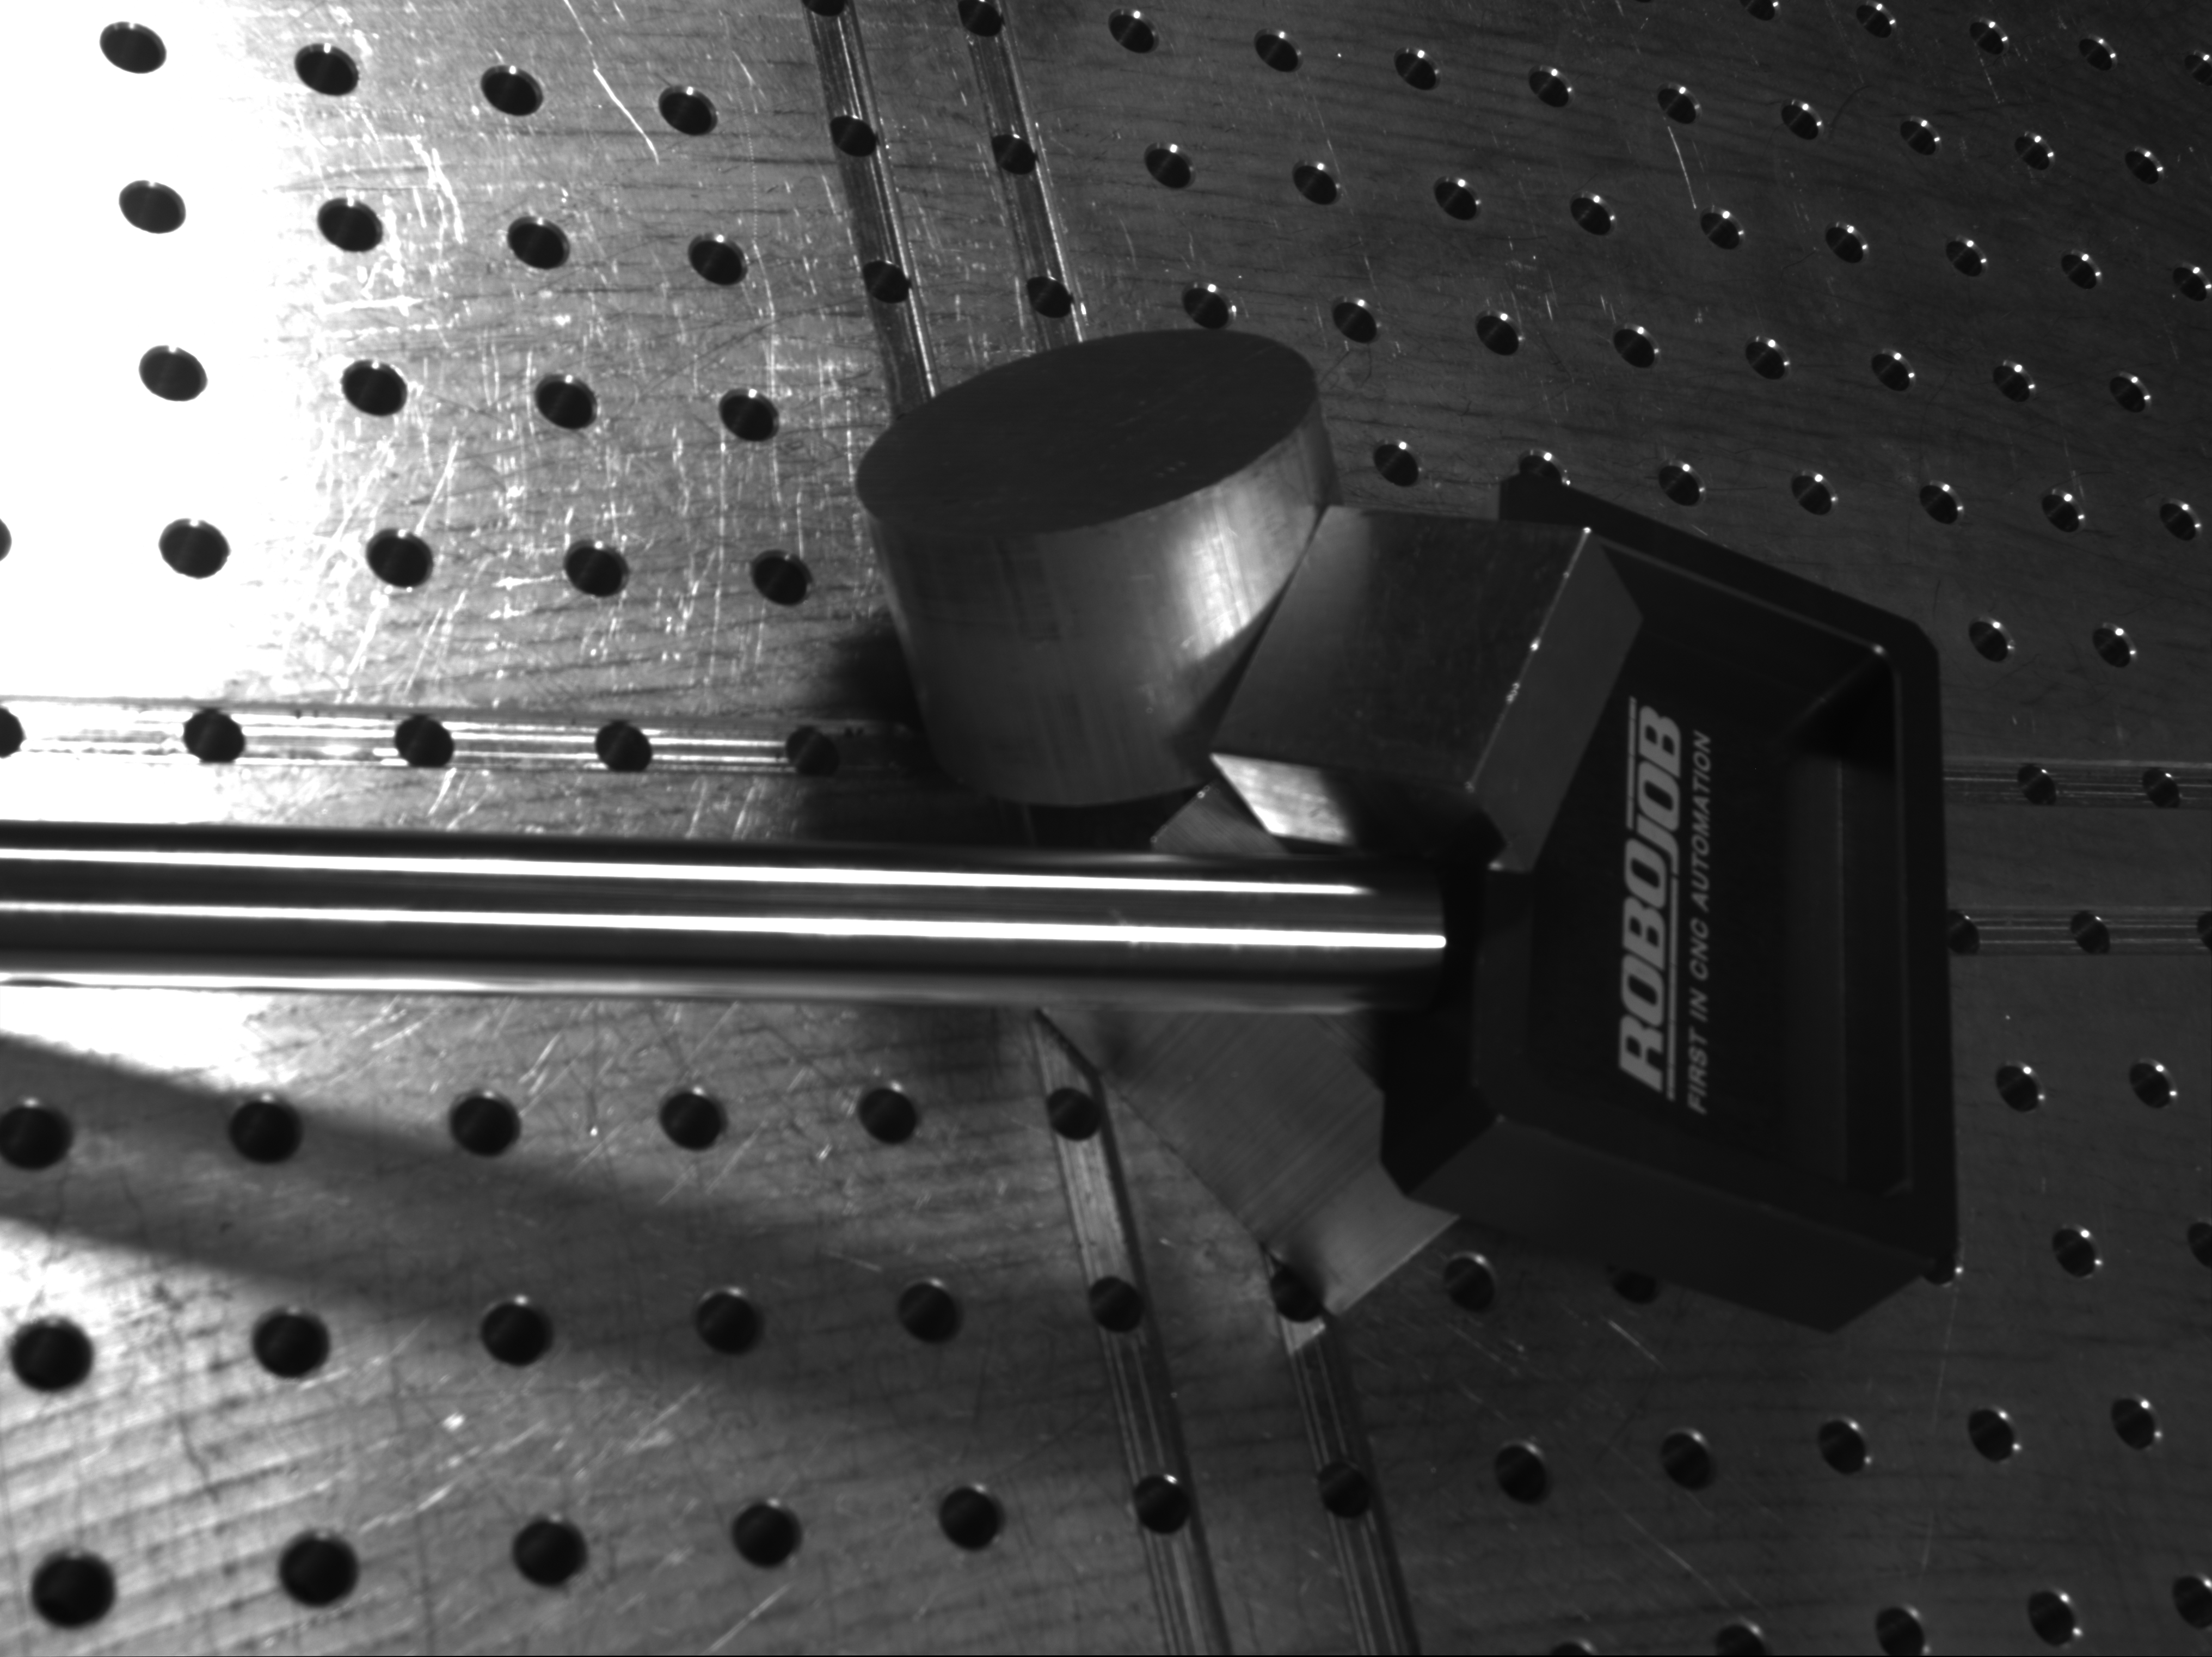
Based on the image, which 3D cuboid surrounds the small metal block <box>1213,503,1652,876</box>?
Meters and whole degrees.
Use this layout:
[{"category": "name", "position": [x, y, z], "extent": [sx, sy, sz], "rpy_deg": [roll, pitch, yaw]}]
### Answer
[{"category": "small metal block", "position": [0.053, -0.023, 0.592], "extent": [0.025, 0.050, 0.050], "rpy_deg": [50, 59, -45]}]

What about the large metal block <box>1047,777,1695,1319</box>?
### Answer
[{"category": "large metal block", "position": [0.047, 0.023, 0.636], "extent": [0.080, 0.050, 0.080], "rpy_deg": [46, 51, 4]}]

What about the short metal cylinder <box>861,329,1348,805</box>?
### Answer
[{"category": "short metal cylinder", "position": [0.003, -0.046, 0.630], "extent": [0.080, 0.080, 0.050], "rpy_deg": [-40, 127, -39]}]

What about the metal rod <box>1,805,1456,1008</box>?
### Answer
[{"category": "metal rod", "position": [-0.094, 0.011, 0.548], "extent": [0.300, 0.025, 0.025], "rpy_deg": [2, 60, -14]}]

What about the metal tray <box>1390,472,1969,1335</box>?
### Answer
[{"category": "metal tray", "position": [0.098, 0.011, 0.617], "extent": [0.090, 0.030, 0.130], "rpy_deg": [19, 54, -17]}]
